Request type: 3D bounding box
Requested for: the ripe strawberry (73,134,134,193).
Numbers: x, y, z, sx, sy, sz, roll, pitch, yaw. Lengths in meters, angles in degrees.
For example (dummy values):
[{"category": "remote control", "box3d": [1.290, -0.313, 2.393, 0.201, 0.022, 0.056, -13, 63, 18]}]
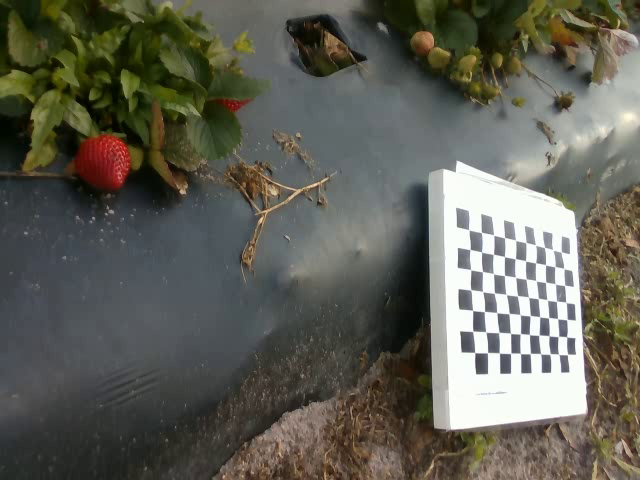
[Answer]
[{"category": "ripe strawberry", "box3d": [-0.162, -0.054, 0.430, 0.043, 0.051, 0.043, -11, -30, -40]}]
